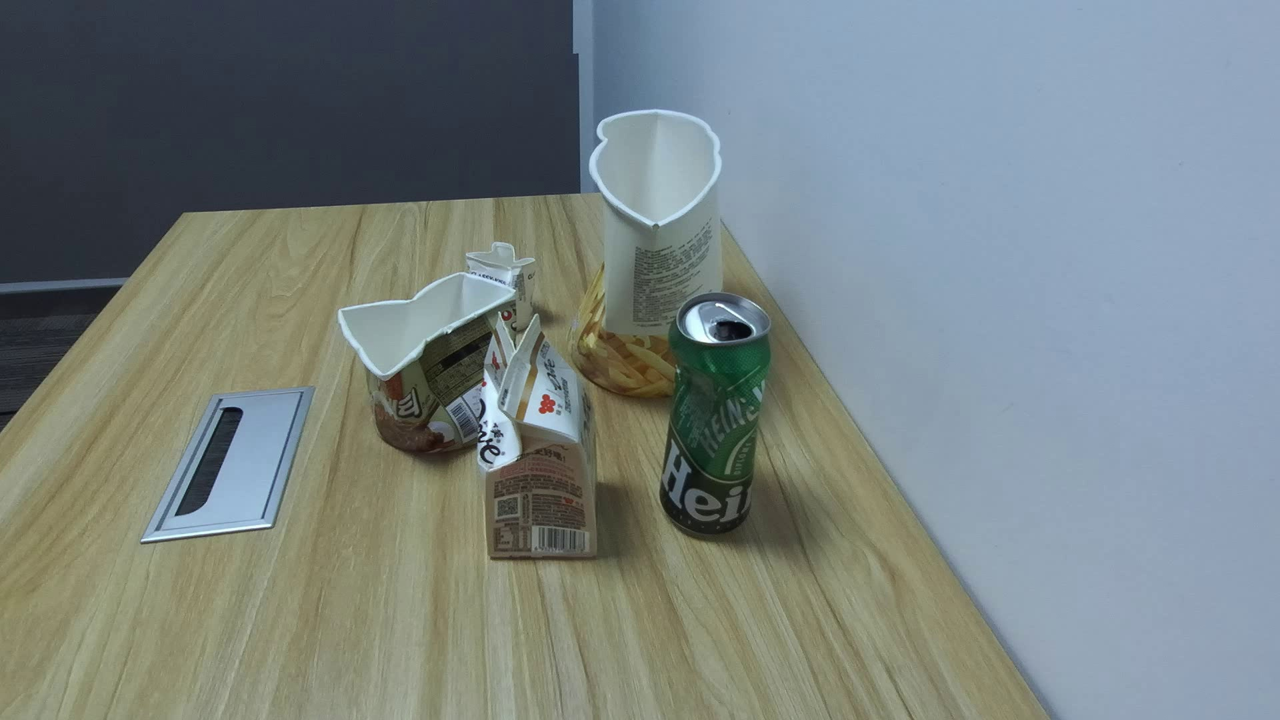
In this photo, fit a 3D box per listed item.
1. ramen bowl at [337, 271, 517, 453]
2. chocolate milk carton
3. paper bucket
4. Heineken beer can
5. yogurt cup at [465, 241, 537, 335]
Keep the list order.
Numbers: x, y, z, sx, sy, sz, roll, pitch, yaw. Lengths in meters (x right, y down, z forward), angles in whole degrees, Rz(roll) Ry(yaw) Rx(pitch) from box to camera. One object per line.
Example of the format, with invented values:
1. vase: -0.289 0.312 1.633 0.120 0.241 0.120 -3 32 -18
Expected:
1. ramen bowl: -0.157 0.001 0.567 0.129 0.093 0.111 -24 43 -30
2. chocolate milk carton: -0.065 0.048 0.450 0.073 0.156 0.076 -1 36 -1
3. paper bucket: 0.010 -0.086 0.605 0.148 0.199 0.217 -17 39 -26
4. Heineken beer can: 0.047 0.039 0.460 0.066 0.164 0.077 10 39 14
5. yogurt cup: -0.131 -0.070 0.683 0.055 0.072 0.054 -26 44 -37
